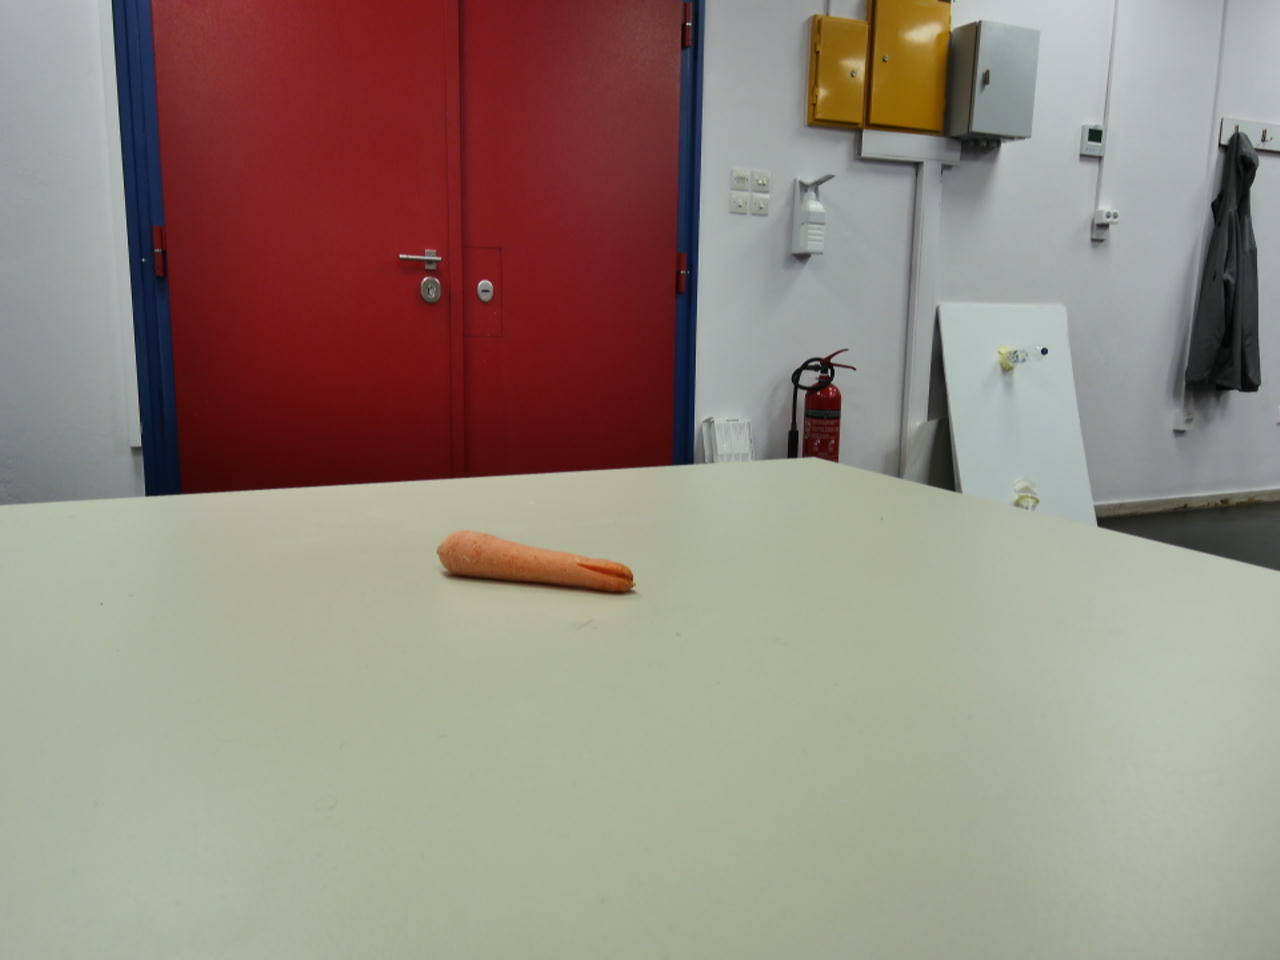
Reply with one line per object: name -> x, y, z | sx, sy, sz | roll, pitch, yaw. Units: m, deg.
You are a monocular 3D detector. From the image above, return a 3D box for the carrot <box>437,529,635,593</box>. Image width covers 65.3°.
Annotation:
carrot -> -0.068, 0.051, 0.632 | 0.136, 0.032, 0.030 | 4, 8, 21
